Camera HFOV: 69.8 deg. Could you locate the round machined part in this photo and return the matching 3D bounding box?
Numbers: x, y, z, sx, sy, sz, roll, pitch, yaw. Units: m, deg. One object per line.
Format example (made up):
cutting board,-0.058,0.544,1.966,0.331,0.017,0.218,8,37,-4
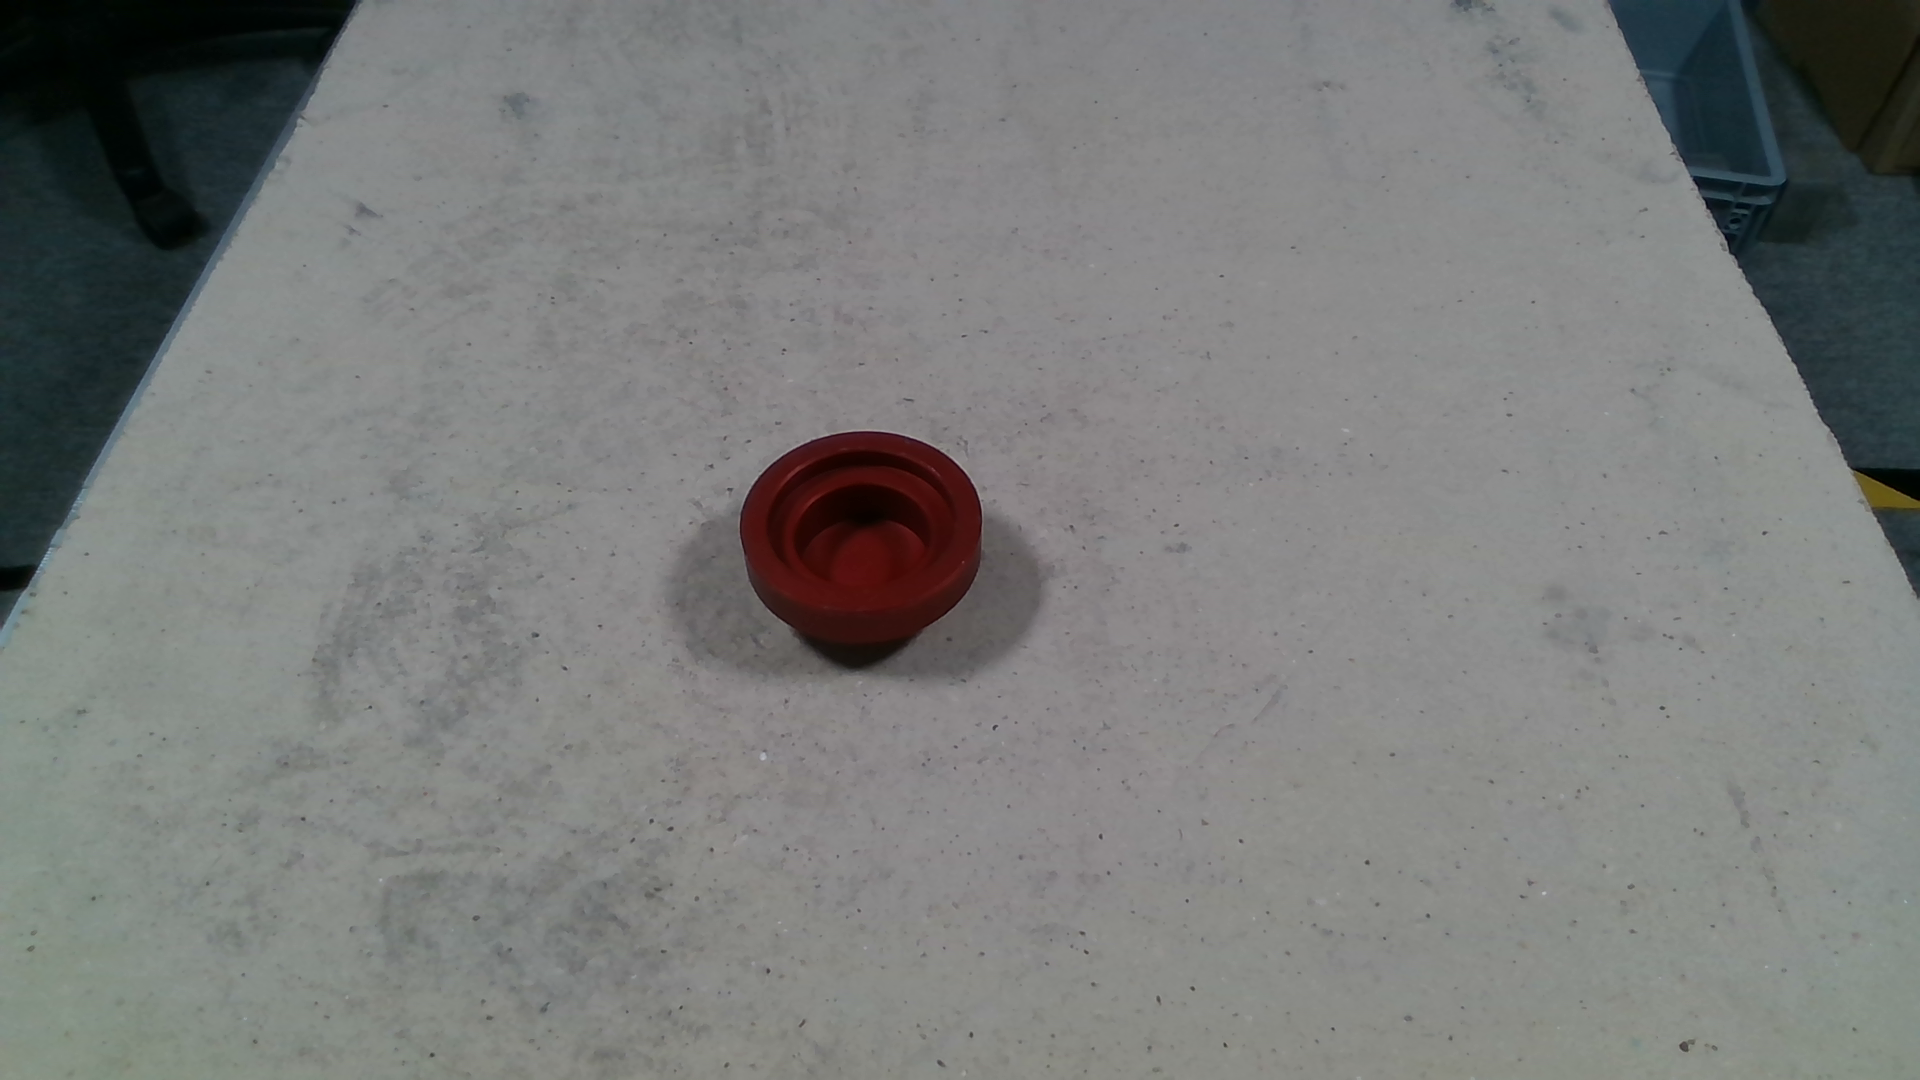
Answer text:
round machined part,-0.040,0.003,0.573,0.098,0.042,0.098,0,50,0
